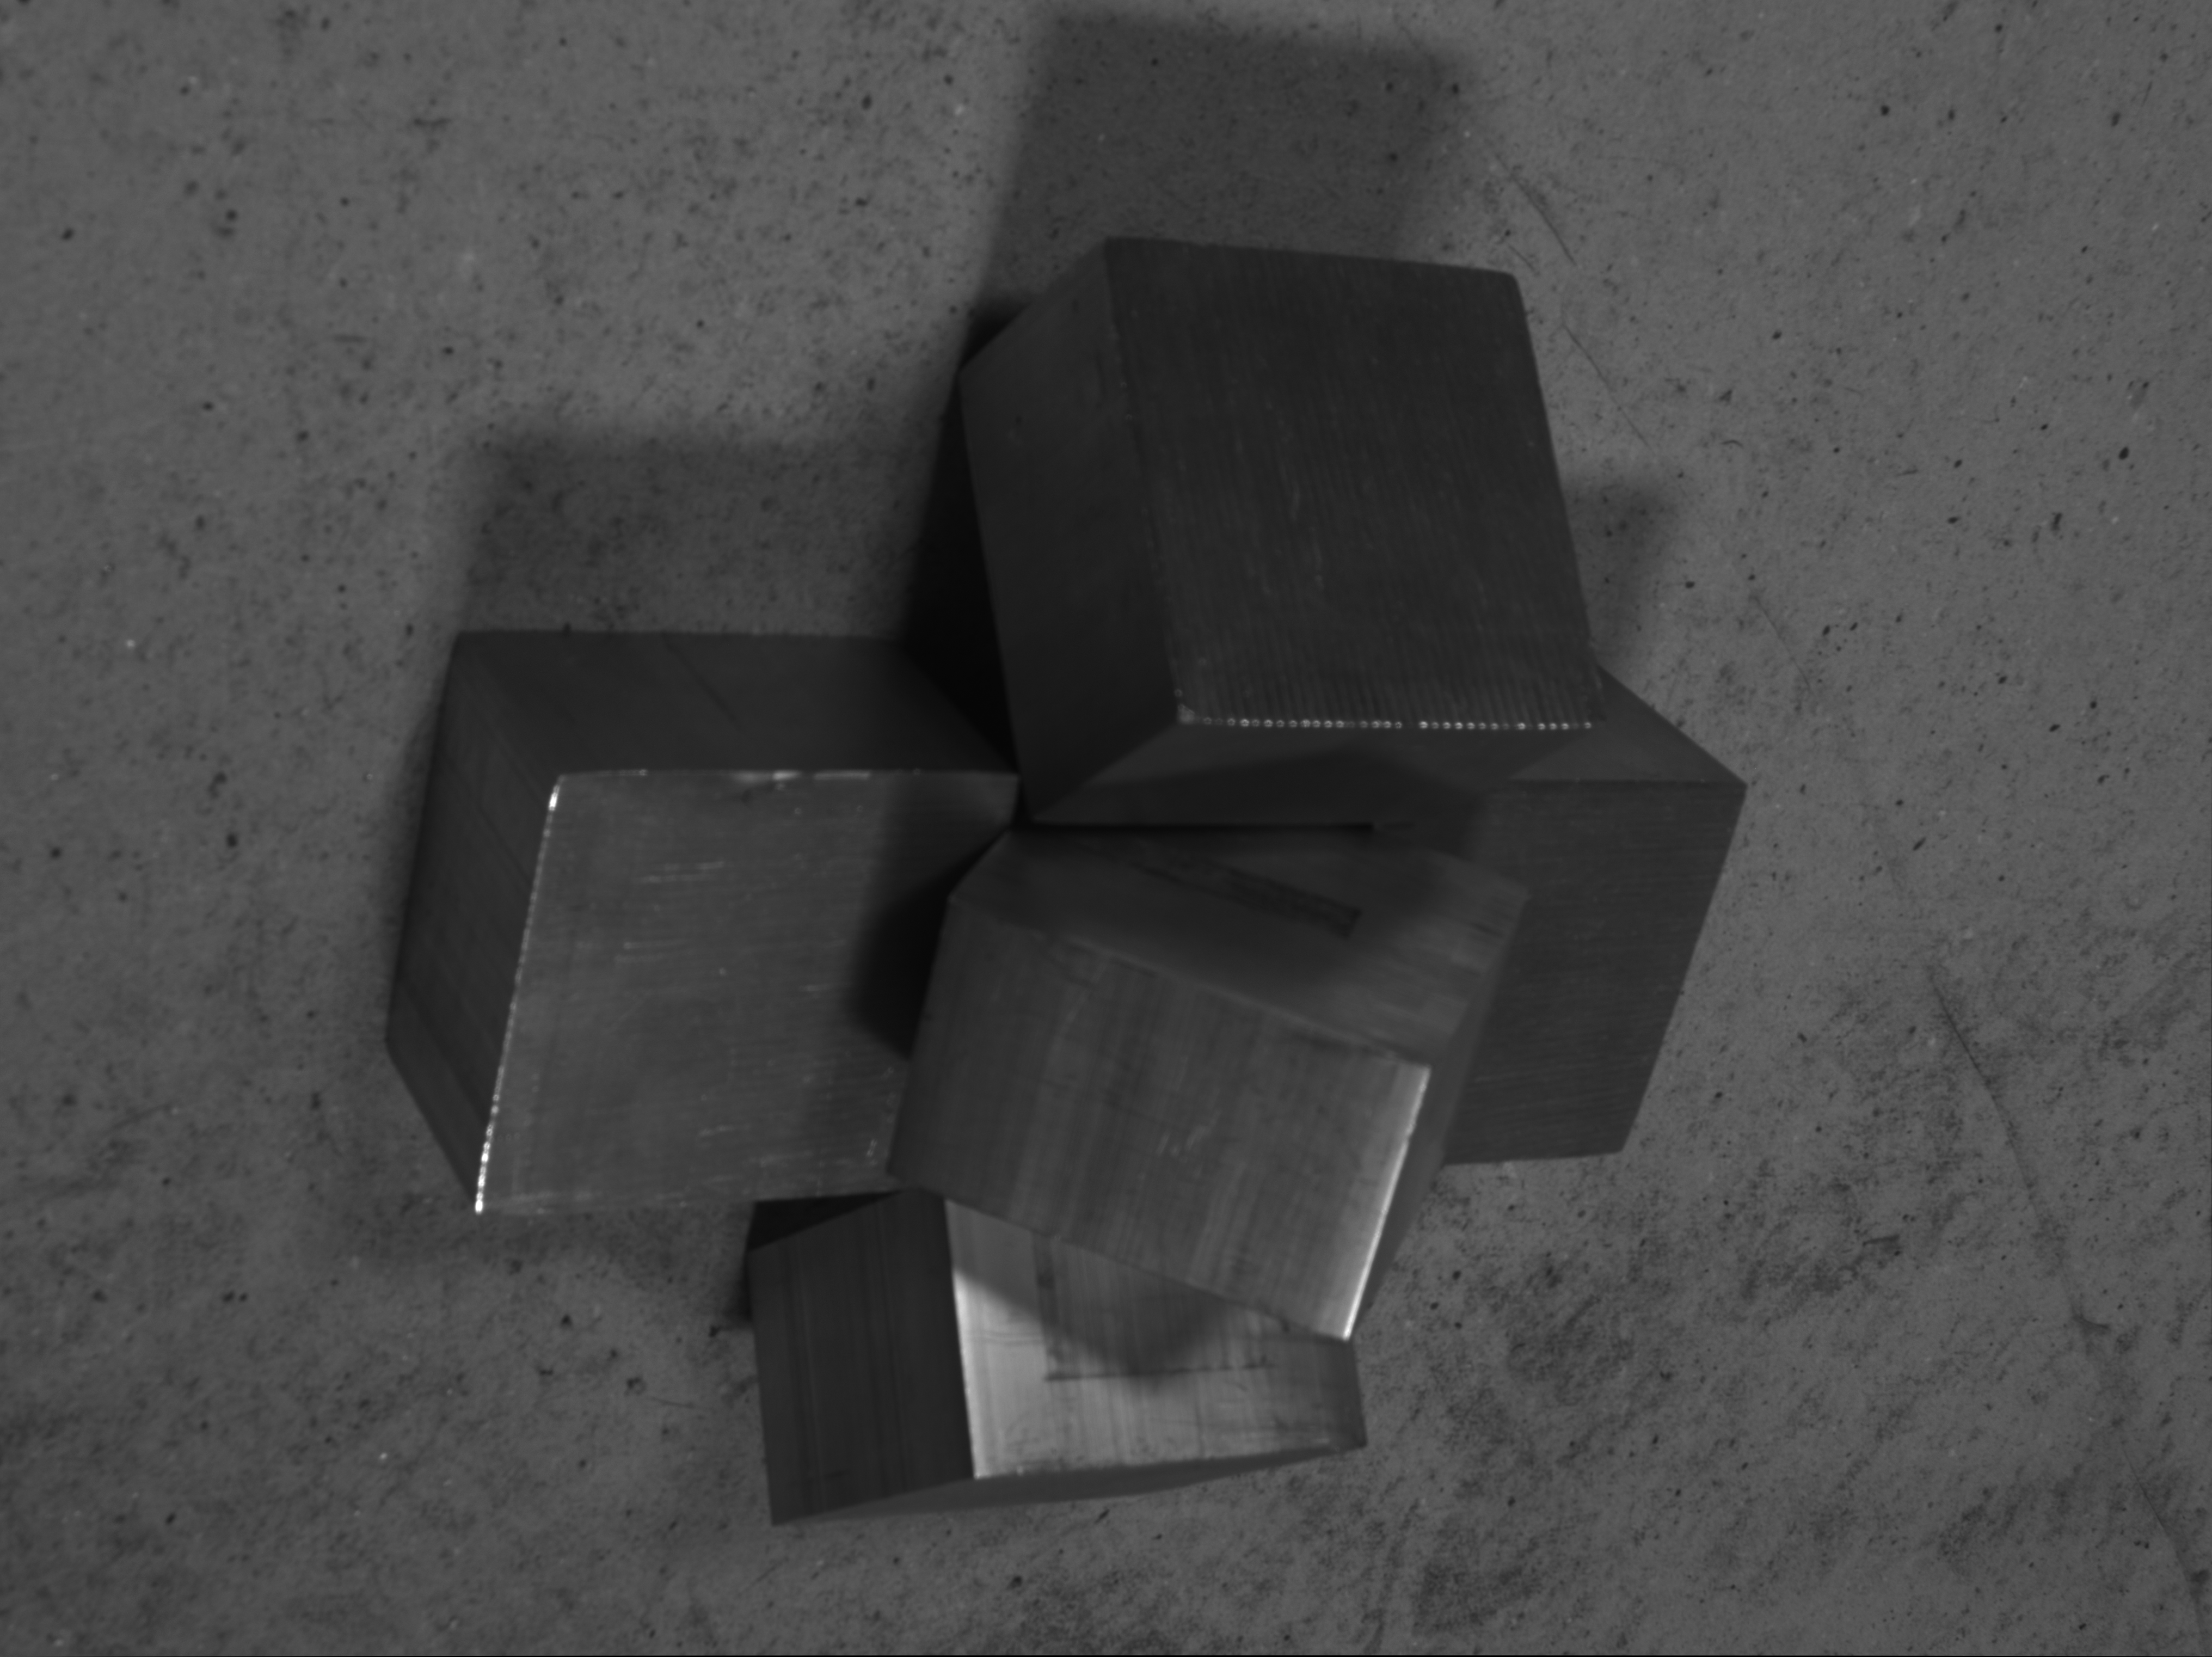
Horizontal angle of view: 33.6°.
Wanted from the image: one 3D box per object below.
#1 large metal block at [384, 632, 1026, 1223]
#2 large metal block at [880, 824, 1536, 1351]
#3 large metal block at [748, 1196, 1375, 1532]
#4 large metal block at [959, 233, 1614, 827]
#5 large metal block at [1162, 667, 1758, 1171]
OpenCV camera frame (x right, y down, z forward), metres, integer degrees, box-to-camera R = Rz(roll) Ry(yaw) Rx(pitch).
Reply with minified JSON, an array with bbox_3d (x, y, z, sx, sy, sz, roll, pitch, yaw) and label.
[{"bbox_3d":[-0.067,0.015,0.605,0.080,0.050,0.080,0,118,-30],"label":"large metal block"},{"bbox_3d":[0.018,0.033,0.603,0.080,0.080,0.050,19,115,10],"label":"large metal block"},{"bbox_3d":[-0.010,0.095,0.660,0.080,0.080,0.050,2,74,-30],"label":"large metal block"},{"bbox_3d":[0.028,-0.046,0.595,0.080,0.080,0.050,0,162,-30],"label":"large metal block"},{"bbox_3d":[0.063,0.016,0.678,0.080,0.050,0.080,0,118,-30],"label":"large metal block"}]
